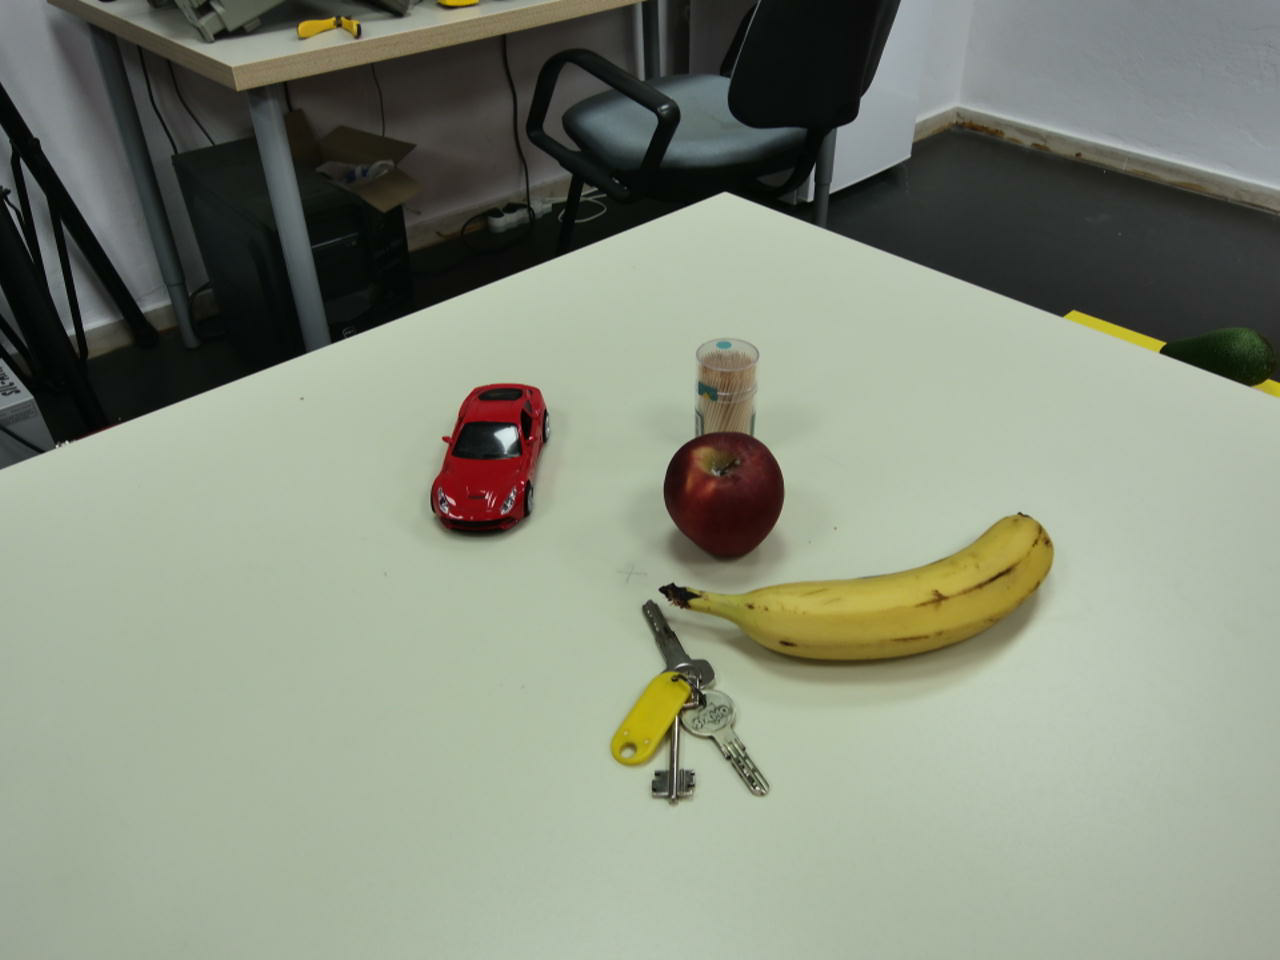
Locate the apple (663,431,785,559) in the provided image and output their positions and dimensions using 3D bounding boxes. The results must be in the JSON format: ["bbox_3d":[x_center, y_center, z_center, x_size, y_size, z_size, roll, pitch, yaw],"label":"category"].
[{"bbox_3d":[0.048,0.008,0.571,0.070,0.072,0.070,0,36,0],"label":"apple"}]
